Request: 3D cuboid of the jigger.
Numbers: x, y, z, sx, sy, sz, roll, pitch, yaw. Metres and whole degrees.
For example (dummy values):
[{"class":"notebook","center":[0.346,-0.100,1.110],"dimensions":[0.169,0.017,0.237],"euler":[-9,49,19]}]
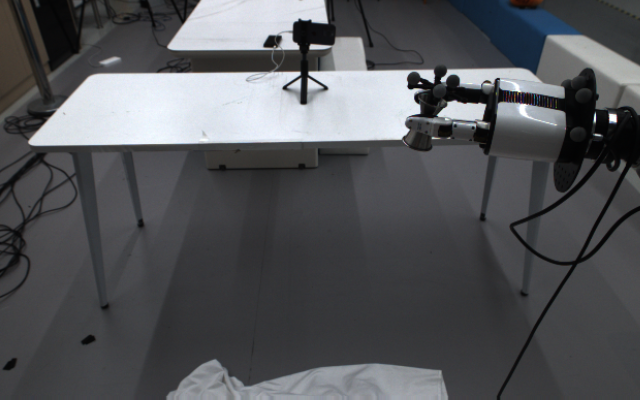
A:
[{"class":"jigger","center":[0.143,-0.108,0.667],"dimensions":[0.043,0.071,0.043],"euler":[10,36,-7]}]
